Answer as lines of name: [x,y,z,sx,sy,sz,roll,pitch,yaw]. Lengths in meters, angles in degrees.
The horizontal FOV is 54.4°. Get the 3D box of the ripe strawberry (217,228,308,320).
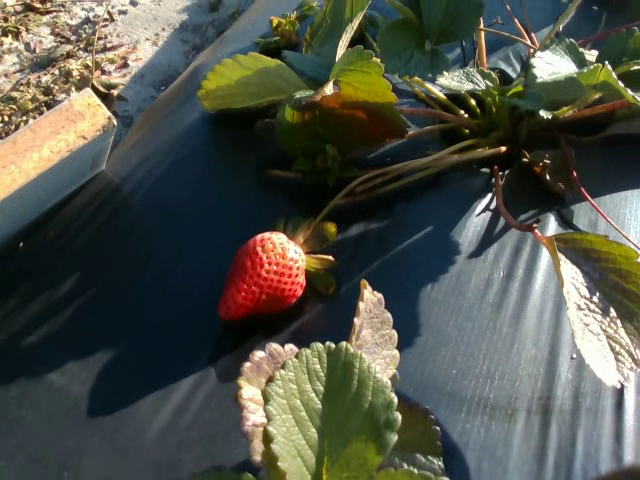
ripe strawberry: [-0.029,0.019,0.281,0.044,0.044,0.064,-26,18,49]
